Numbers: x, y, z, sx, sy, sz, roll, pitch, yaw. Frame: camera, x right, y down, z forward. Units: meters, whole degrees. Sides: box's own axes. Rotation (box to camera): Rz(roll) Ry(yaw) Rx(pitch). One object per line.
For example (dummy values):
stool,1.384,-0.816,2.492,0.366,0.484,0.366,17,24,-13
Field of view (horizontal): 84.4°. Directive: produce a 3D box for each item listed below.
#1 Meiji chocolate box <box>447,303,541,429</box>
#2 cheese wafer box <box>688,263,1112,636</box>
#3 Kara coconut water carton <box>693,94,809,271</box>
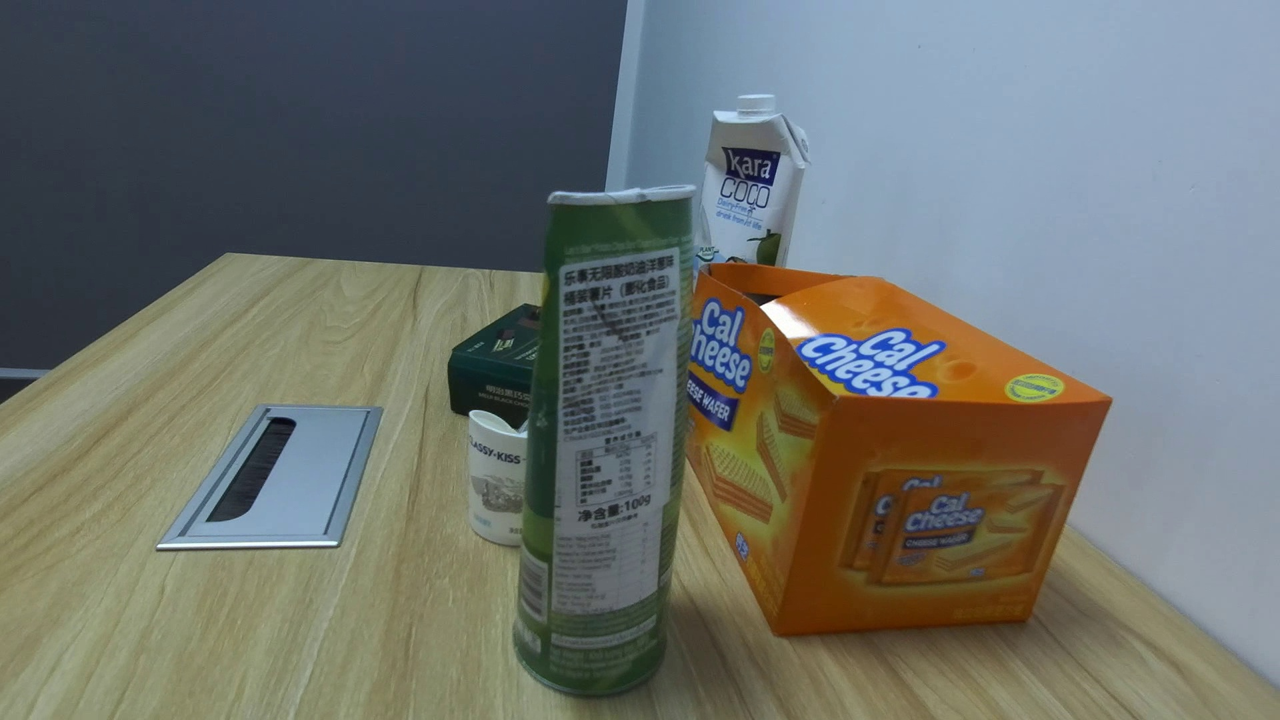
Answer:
Meiji chocolate box,-0.079,0.007,0.588,0.122,0.058,0.116,17,30,20
cheese wafer box,0.117,0.034,0.426,0.152,0.132,0.230,1,23,-13
Kara coconut water carton,0.087,-0.098,0.599,0.070,0.238,0.114,-13,27,-42
